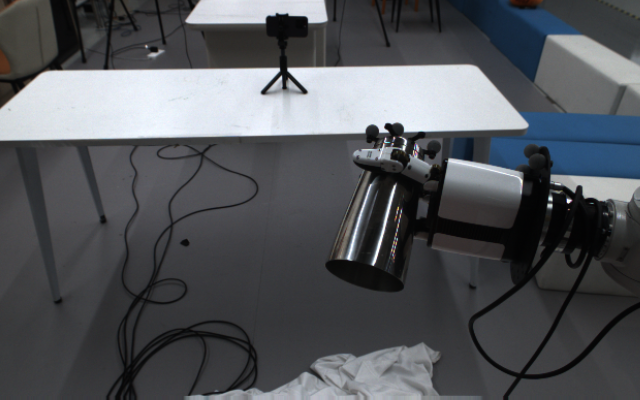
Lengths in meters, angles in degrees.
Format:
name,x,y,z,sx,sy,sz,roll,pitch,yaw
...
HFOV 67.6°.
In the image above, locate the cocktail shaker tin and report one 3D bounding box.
name,x,y,z,sx,sy,sz,roll,pitch,yaw
cocktail shaker tin,0.076,0.009,0.573,0.093,0.093,0.170,13,65,15
